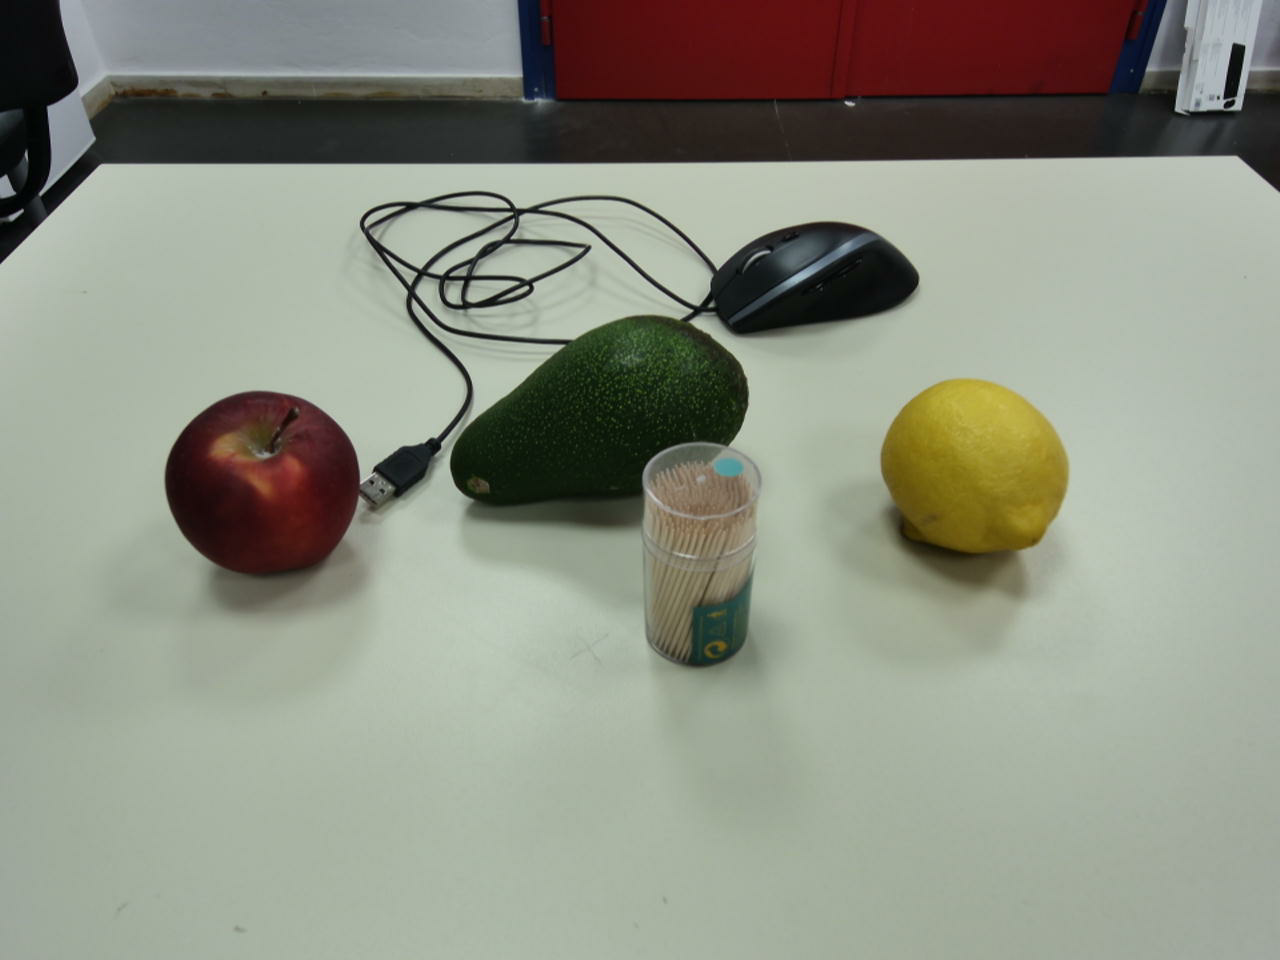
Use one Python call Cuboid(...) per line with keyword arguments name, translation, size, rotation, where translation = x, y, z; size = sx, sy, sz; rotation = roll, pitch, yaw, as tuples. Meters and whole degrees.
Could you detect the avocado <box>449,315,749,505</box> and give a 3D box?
Cuboid(name="avocado", translation=(-0.016, -0.032, 0.423), size=(0.123, 0.076, 0.074), rotation=(4, 39, 5))
